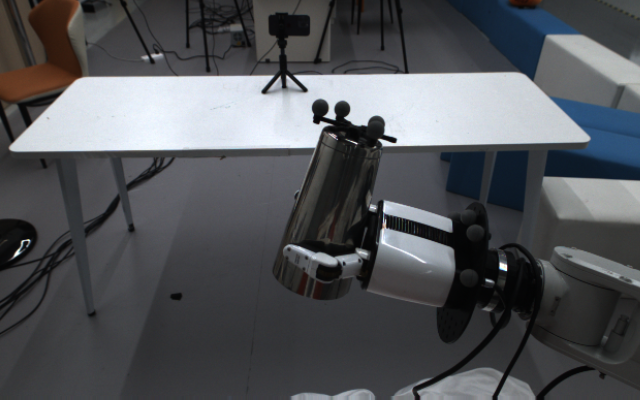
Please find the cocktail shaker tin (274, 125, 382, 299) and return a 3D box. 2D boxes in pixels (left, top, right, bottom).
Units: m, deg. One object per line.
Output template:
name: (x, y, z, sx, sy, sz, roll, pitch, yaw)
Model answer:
cocktail shaker tin: (0.013, 0.012, 0.528, 0.093, 0.170, 0.093, 14, 20, -5)
